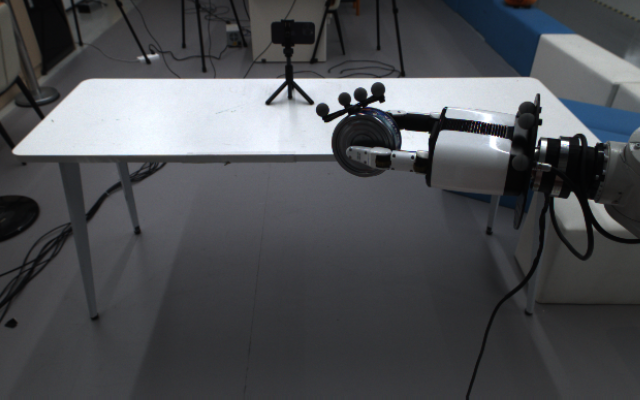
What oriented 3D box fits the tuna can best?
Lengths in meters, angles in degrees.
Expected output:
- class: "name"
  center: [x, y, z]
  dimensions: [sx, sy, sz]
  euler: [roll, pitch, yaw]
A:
- class: "tuna can"
  center: [0.063, -0.068, 0.619]
  dimensions: [0.085, 0.085, 0.034]
  euler: [15, 29, 17]
